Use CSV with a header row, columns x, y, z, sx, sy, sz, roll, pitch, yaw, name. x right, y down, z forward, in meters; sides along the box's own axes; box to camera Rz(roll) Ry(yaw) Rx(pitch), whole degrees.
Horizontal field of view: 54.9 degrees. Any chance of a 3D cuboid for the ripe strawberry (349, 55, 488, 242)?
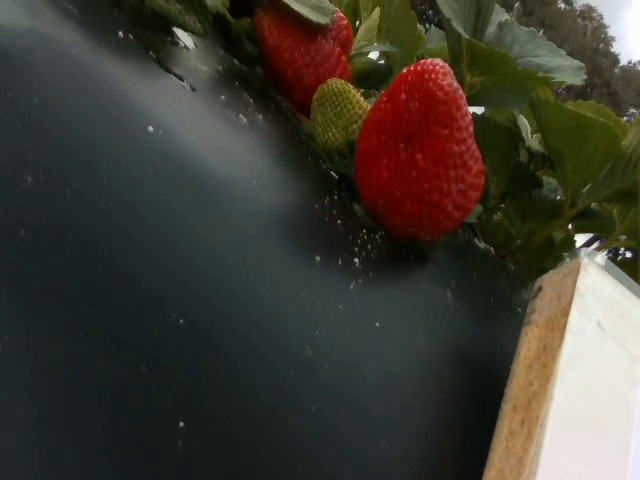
x,y,z,sx,sy,sz,roll,pitch,yaw,name
0.037,-0.034,0.202,0.057,0.056,0.065,-7,-21,-10,ripe strawberry
